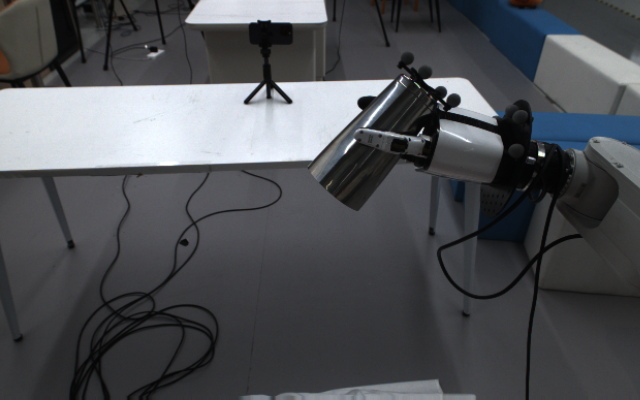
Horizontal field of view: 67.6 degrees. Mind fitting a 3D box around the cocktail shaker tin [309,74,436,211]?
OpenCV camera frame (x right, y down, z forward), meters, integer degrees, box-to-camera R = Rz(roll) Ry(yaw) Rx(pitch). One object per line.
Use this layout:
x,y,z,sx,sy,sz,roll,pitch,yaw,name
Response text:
0.074,-0.083,0.640,0.093,0.170,0.093,41,12,-11,cocktail shaker tin
